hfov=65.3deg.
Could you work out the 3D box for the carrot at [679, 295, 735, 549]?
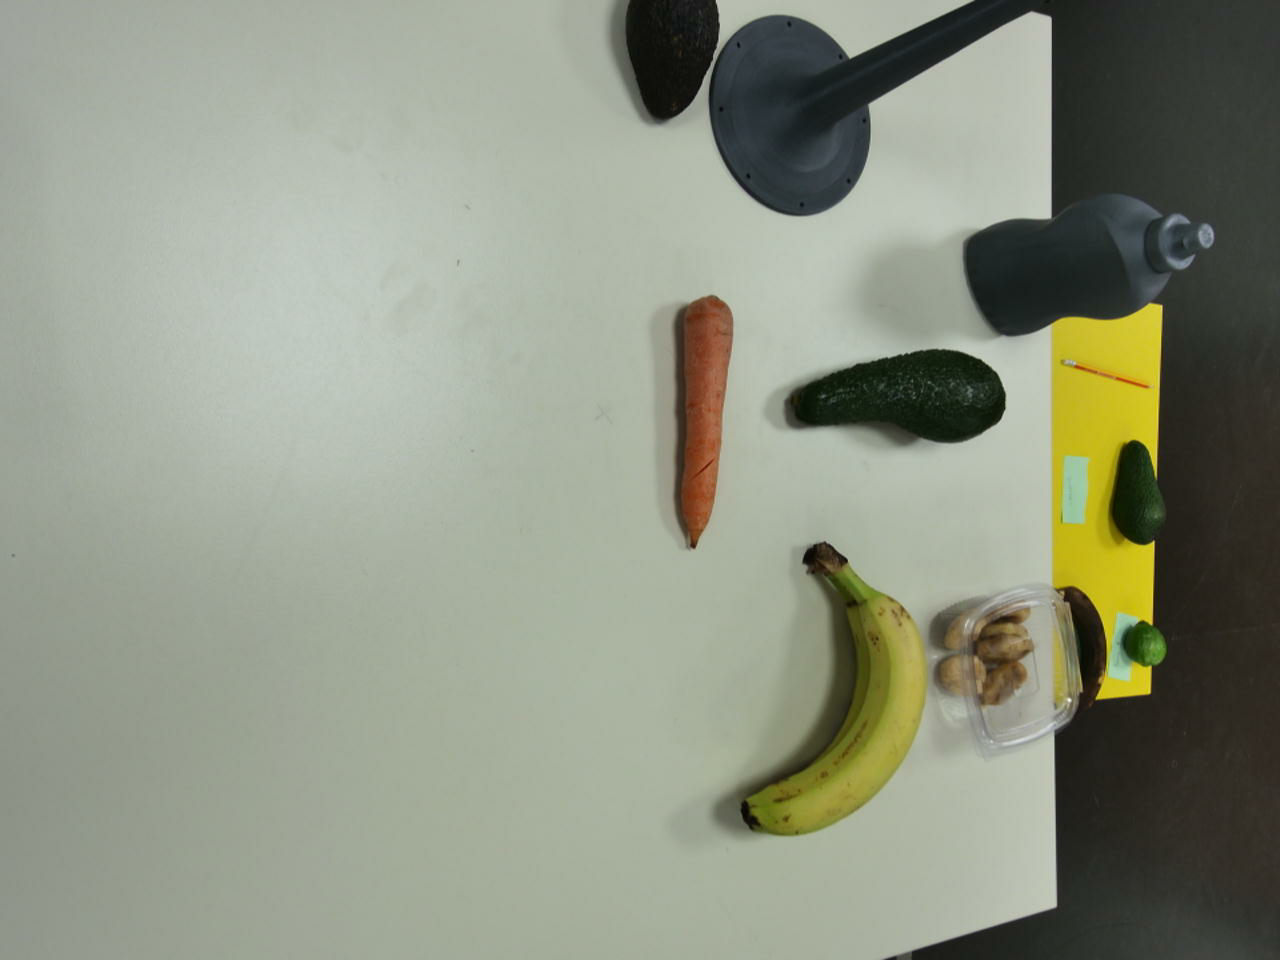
[{"bbox_3d":[0.052,-0.042,0.766,0.039,0.041,0.196,1,91,-29],"label":"carrot"}]
